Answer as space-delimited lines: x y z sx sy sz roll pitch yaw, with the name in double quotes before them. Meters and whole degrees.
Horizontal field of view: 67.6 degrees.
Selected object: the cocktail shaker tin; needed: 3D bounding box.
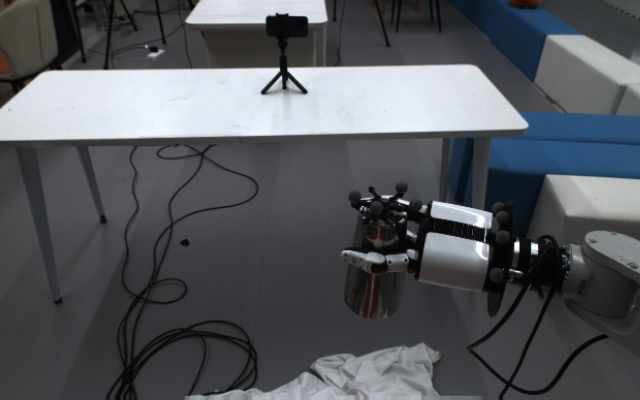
"cocktail shaker tin" 0.088 0.079 0.702 0.093 0.170 0.093 1 39 -1
